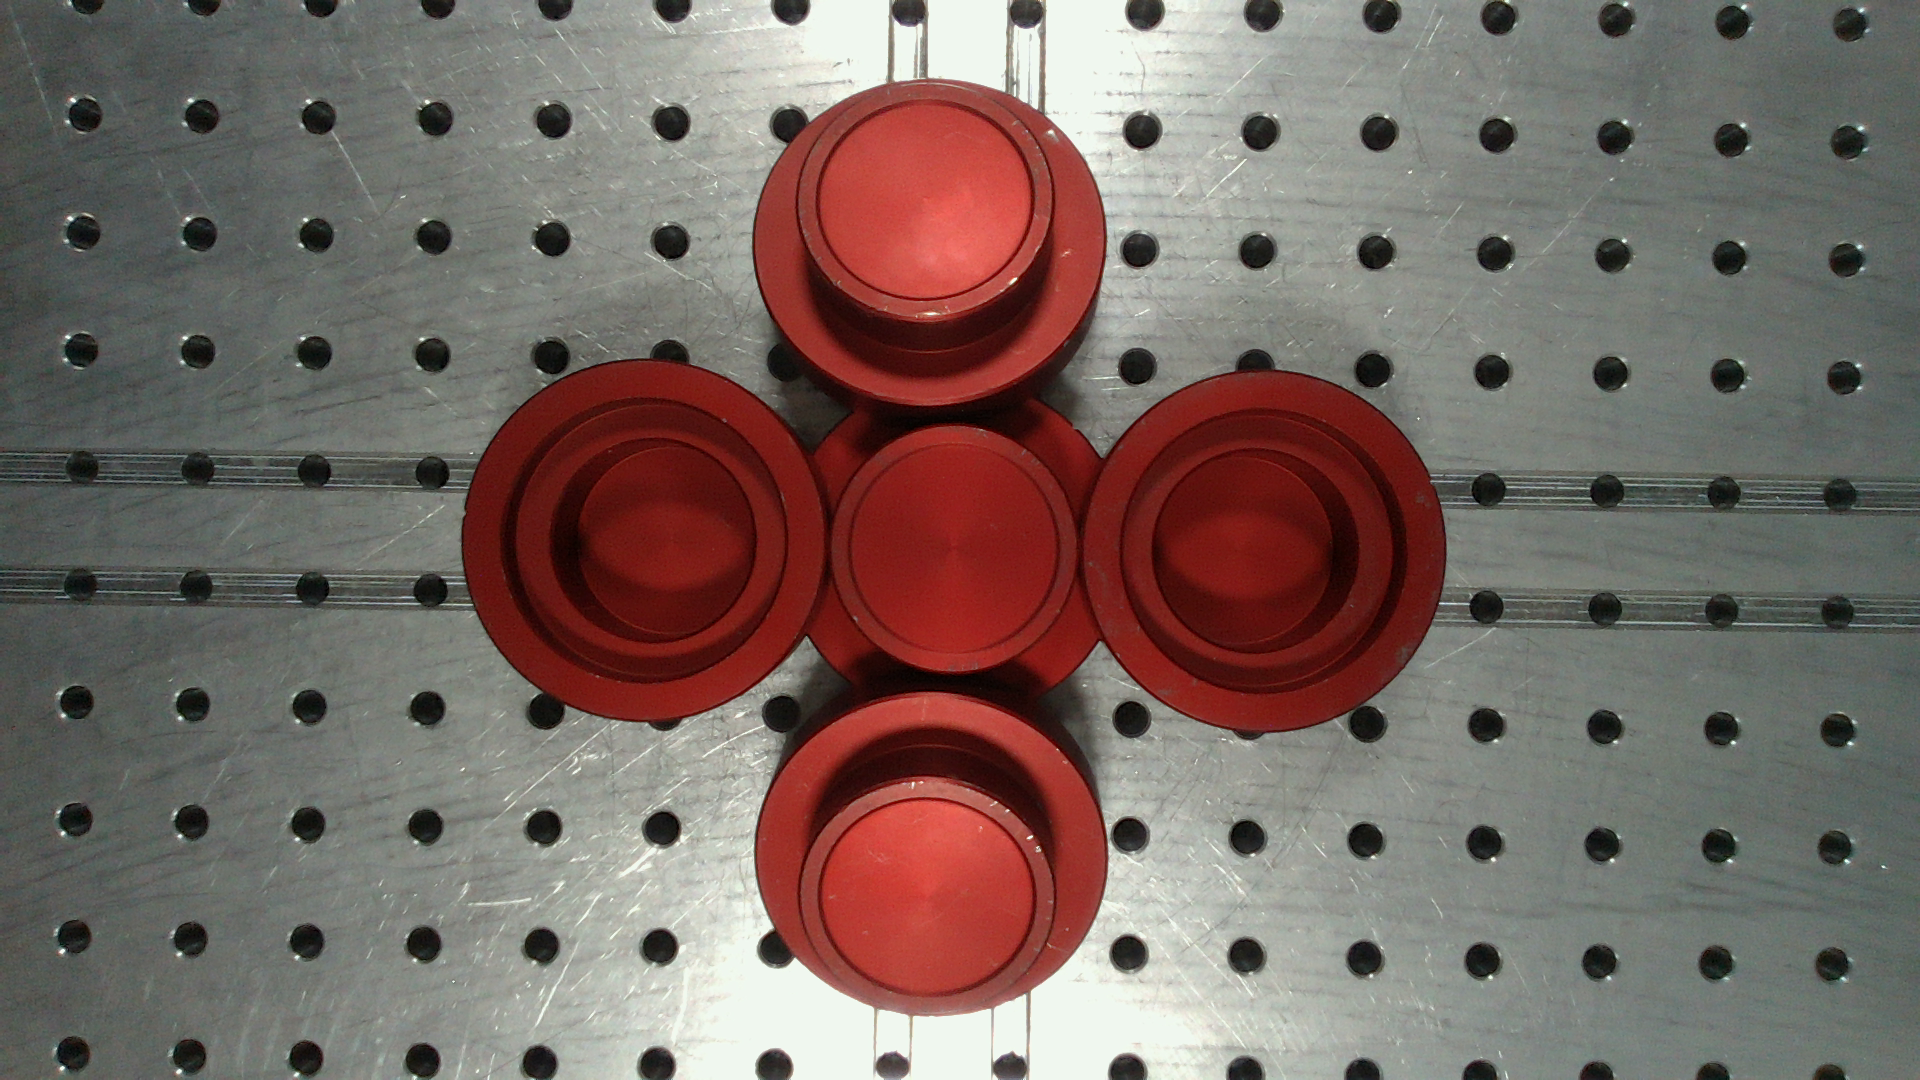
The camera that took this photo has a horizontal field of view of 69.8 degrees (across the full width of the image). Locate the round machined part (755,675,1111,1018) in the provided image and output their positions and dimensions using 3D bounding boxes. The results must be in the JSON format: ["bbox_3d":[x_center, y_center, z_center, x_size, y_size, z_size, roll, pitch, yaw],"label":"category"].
[{"bbox_3d":[-0.007,0.089,0.378,0.098,0.042,0.098,0,105,0],"label":"round machined part"}]

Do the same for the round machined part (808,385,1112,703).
[{"bbox_3d":[-0.002,0.002,0.388,0.098,0.042,0.098,0,90,0],"label":"round machined part"}]

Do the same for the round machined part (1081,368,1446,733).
[{"bbox_3d":[0.082,0.003,0.389,0.098,0.042,0.098,0,90,0],"label":"round machined part"}]

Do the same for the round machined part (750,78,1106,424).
[{"bbox_3d":[-0.009,-0.084,0.377,0.098,0.042,0.098,0,76,2],"label":"round machined part"}]

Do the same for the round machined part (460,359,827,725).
[{"bbox_3d":[-0.085,0.000,0.388,0.098,0.042,0.098,0,90,0],"label":"round machined part"}]
